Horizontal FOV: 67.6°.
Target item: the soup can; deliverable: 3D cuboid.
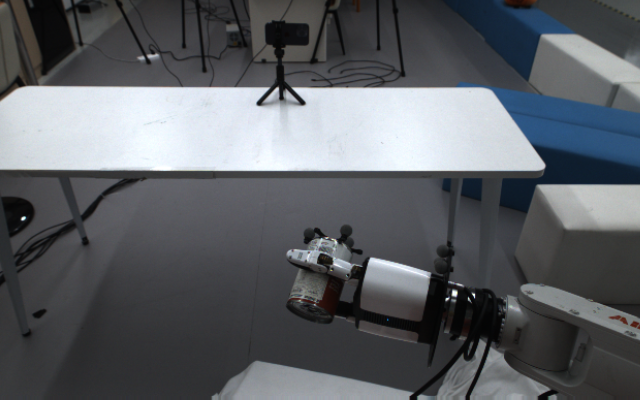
[{"bbox_3d":[0.001,0.109,0.671,0.067,0.067,0.101,12,59,14],"label":"soup can"}]
